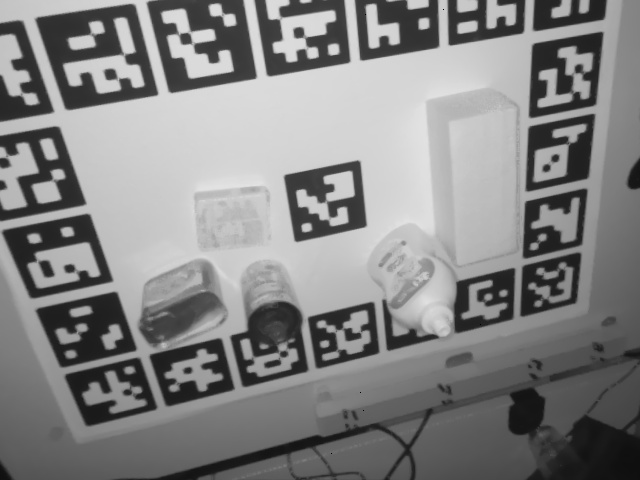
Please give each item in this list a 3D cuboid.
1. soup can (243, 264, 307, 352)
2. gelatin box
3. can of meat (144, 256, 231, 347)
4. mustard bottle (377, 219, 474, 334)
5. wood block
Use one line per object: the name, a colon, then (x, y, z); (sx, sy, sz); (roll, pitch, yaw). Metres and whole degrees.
soup can: (-0.058, 0.082, 0.861); (0.068, 0.102, 0.067); (-6, 117, -10)
gelatin box: (-0.101, -0.033, 0.837); (0.090, 0.030, 0.072); (-4, 116, -14)
can of meat: (-0.160, 0.073, 0.854); (0.102, 0.084, 0.057); (-23, 120, 3)
mustard bottle: (0.136, 0.051, 0.855); (0.096, 0.192, 0.058); (-33, 120, 8)
wood block: (0.210, -0.081, 0.856); (0.091, 0.090, 0.205); (-10, 124, -5)
